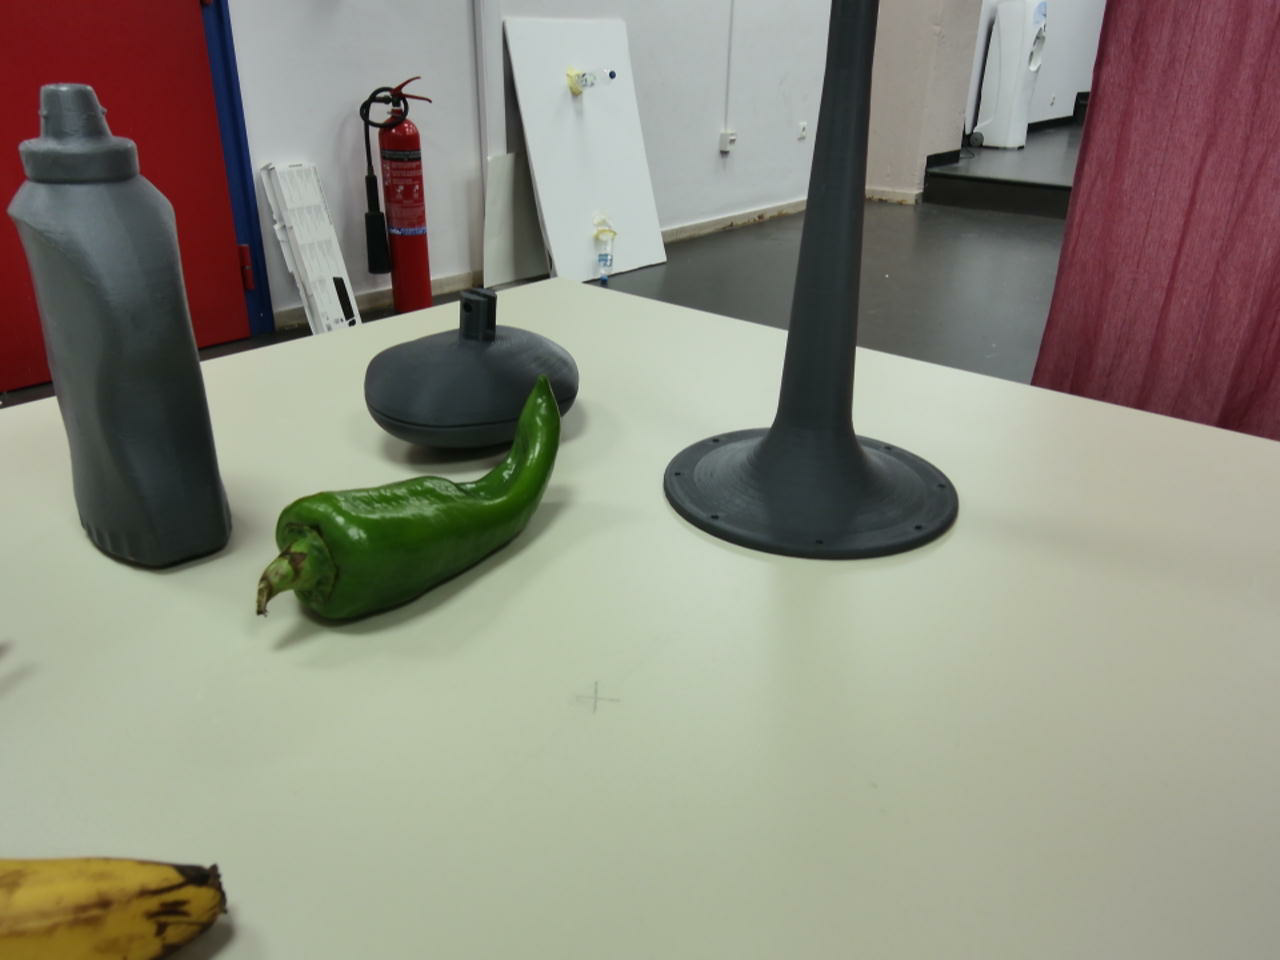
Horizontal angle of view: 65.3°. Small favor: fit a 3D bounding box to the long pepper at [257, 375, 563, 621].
[{"bbox_3d":[-0.088,0.008,0.423,0.058,0.065,0.175,17,28,33],"label":"long pepper"}]
